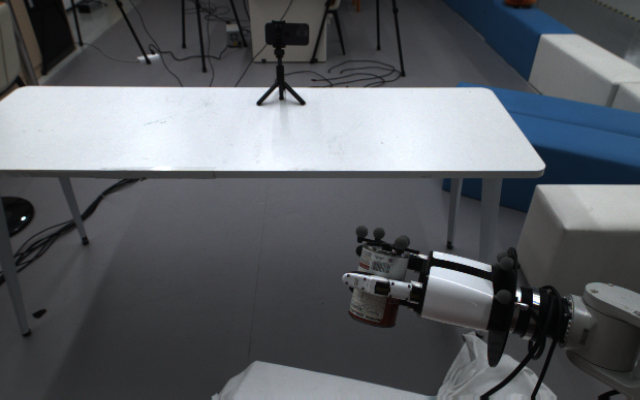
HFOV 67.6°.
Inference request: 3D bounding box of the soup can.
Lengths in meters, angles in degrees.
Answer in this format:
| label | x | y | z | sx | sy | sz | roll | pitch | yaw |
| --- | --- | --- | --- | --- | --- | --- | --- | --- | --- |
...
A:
| label | x | y | z | sx | sy | sz | roll | pitch | yaw |
| --- | --- | --- | --- | --- | --- | --- | --- | --- | --- |
| soup can | 0.084 | 0.117 | 0.674 | 0.067 | 0.101 | 0.067 | 12 | 2 | 0 |
